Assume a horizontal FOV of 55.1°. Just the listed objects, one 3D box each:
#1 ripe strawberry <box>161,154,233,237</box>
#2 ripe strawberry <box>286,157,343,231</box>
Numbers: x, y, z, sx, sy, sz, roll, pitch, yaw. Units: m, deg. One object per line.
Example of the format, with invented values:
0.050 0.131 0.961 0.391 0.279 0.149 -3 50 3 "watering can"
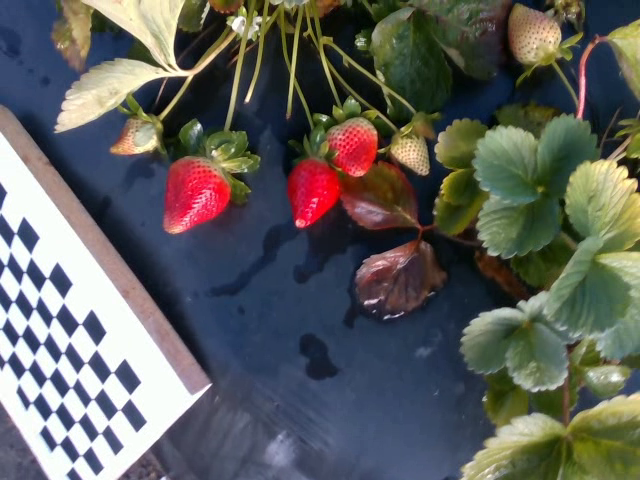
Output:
-0.094 -0.032 0.430 0.050 0.065 0.050 15 -29 36 "ripe strawberry"
-0.009 -0.030 0.416 0.044 0.055 0.041 -14 -43 42 "ripe strawberry"
